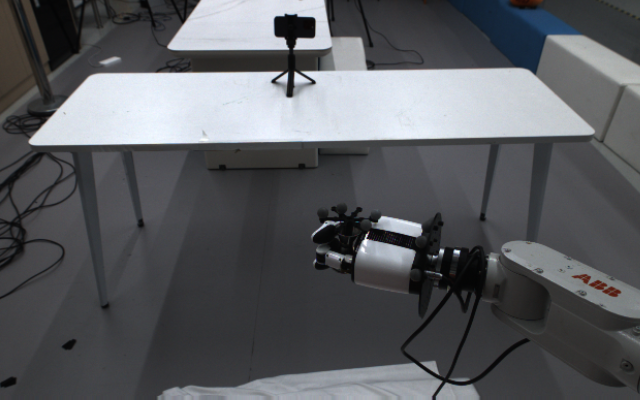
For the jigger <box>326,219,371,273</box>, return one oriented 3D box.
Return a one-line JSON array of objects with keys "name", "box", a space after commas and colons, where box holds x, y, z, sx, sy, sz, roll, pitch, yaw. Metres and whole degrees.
[{"name": "jigger", "box": [0.045, 0.074, 0.759, 0.043, 0.071, 0.043, 3, 25, -1]}]
